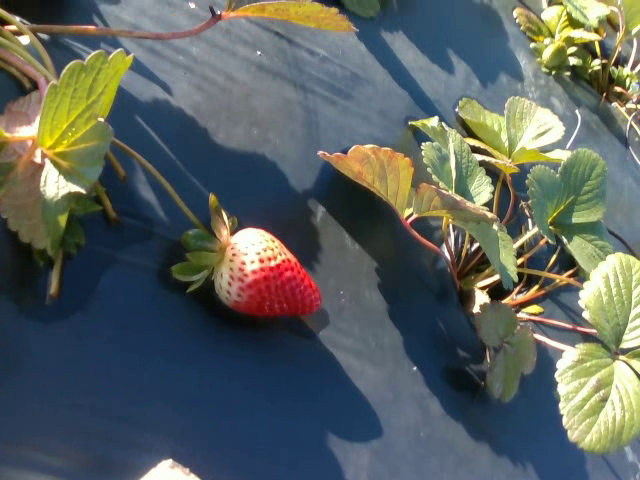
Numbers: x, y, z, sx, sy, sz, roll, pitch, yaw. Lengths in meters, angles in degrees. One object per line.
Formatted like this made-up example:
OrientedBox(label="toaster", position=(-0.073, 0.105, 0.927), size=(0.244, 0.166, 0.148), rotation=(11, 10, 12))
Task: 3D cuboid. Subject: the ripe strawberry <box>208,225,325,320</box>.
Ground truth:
OrientedBox(label="ripe strawberry", position=(-0.019, 0.017, 0.267), size=(0.063, 0.045, 0.044), rotation=(27, 14, -12))
